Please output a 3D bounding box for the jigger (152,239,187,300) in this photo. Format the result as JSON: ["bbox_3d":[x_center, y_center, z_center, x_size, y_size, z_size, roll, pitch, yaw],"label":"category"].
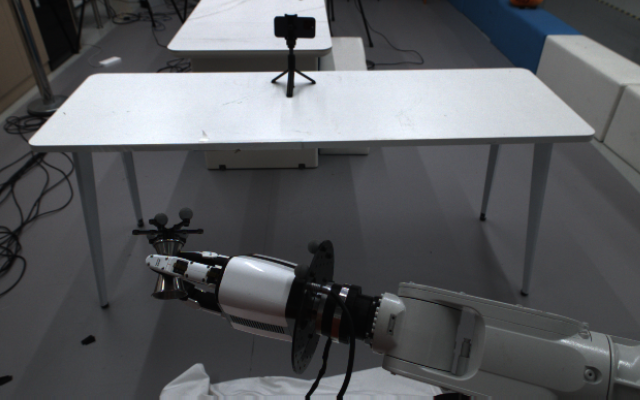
[{"bbox_3d":[-0.193,0.089,0.619,0.043,0.043,0.071,-4,67,-9],"label":"jigger"}]
